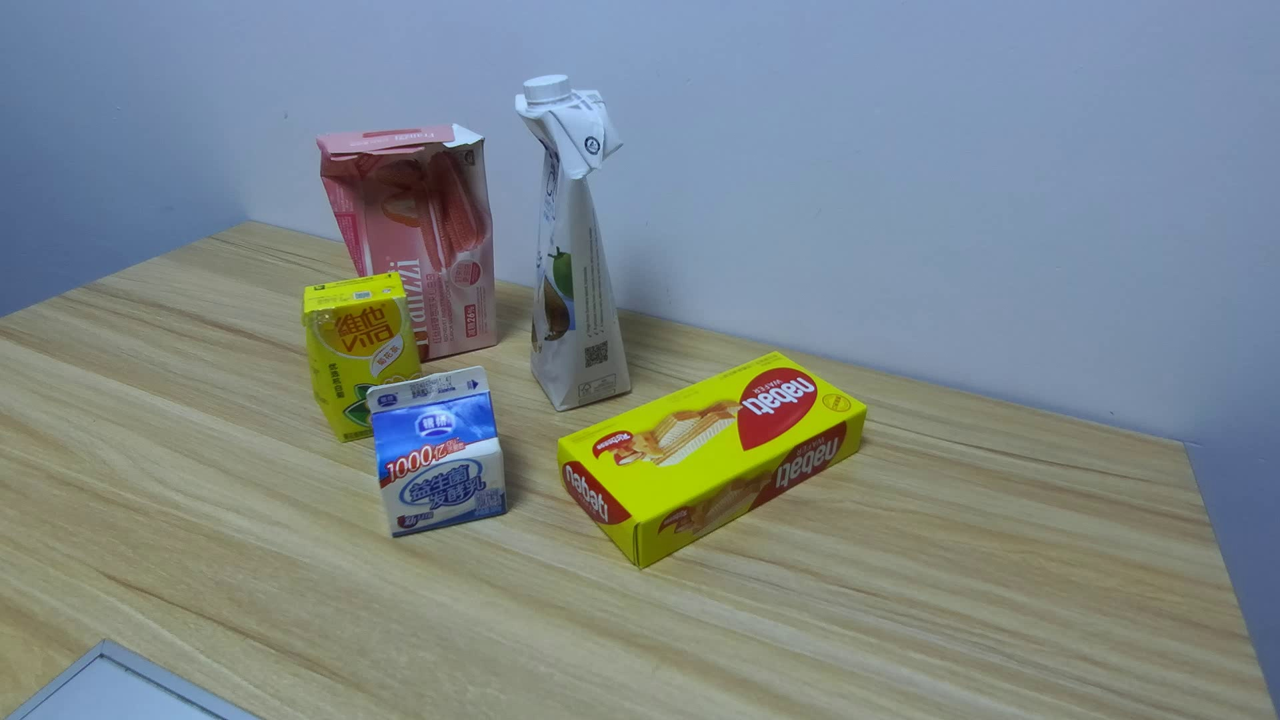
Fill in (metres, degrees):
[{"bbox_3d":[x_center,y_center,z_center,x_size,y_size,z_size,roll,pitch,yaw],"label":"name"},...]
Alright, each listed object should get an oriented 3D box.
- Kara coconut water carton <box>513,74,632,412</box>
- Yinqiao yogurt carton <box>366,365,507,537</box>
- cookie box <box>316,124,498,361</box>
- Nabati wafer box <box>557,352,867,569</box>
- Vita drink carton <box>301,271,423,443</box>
[{"bbox_3d":[-0.049,-0.082,0.515,0.069,0.239,0.114,-14,36,-20],"label":"Kara coconut water carton"},{"bbox_3d":[-0.129,0.048,0.445,0.076,0.092,0.073,-11,34,-17],"label":"Yinqiao yogurt carton"},{"bbox_3d":[-0.178,-0.088,0.568,0.119,0.184,0.055,-12,37,-20],"label":"cookie box"},{"bbox_3d":[0.054,0.058,0.486,0.203,0.042,0.092,-20,39,-30],"label":"Nabati wafer box"},{"bbox_3d":[-0.196,-0.001,0.500,0.076,0.109,0.043,-12,35,-20],"label":"Vita drink carton"}]
